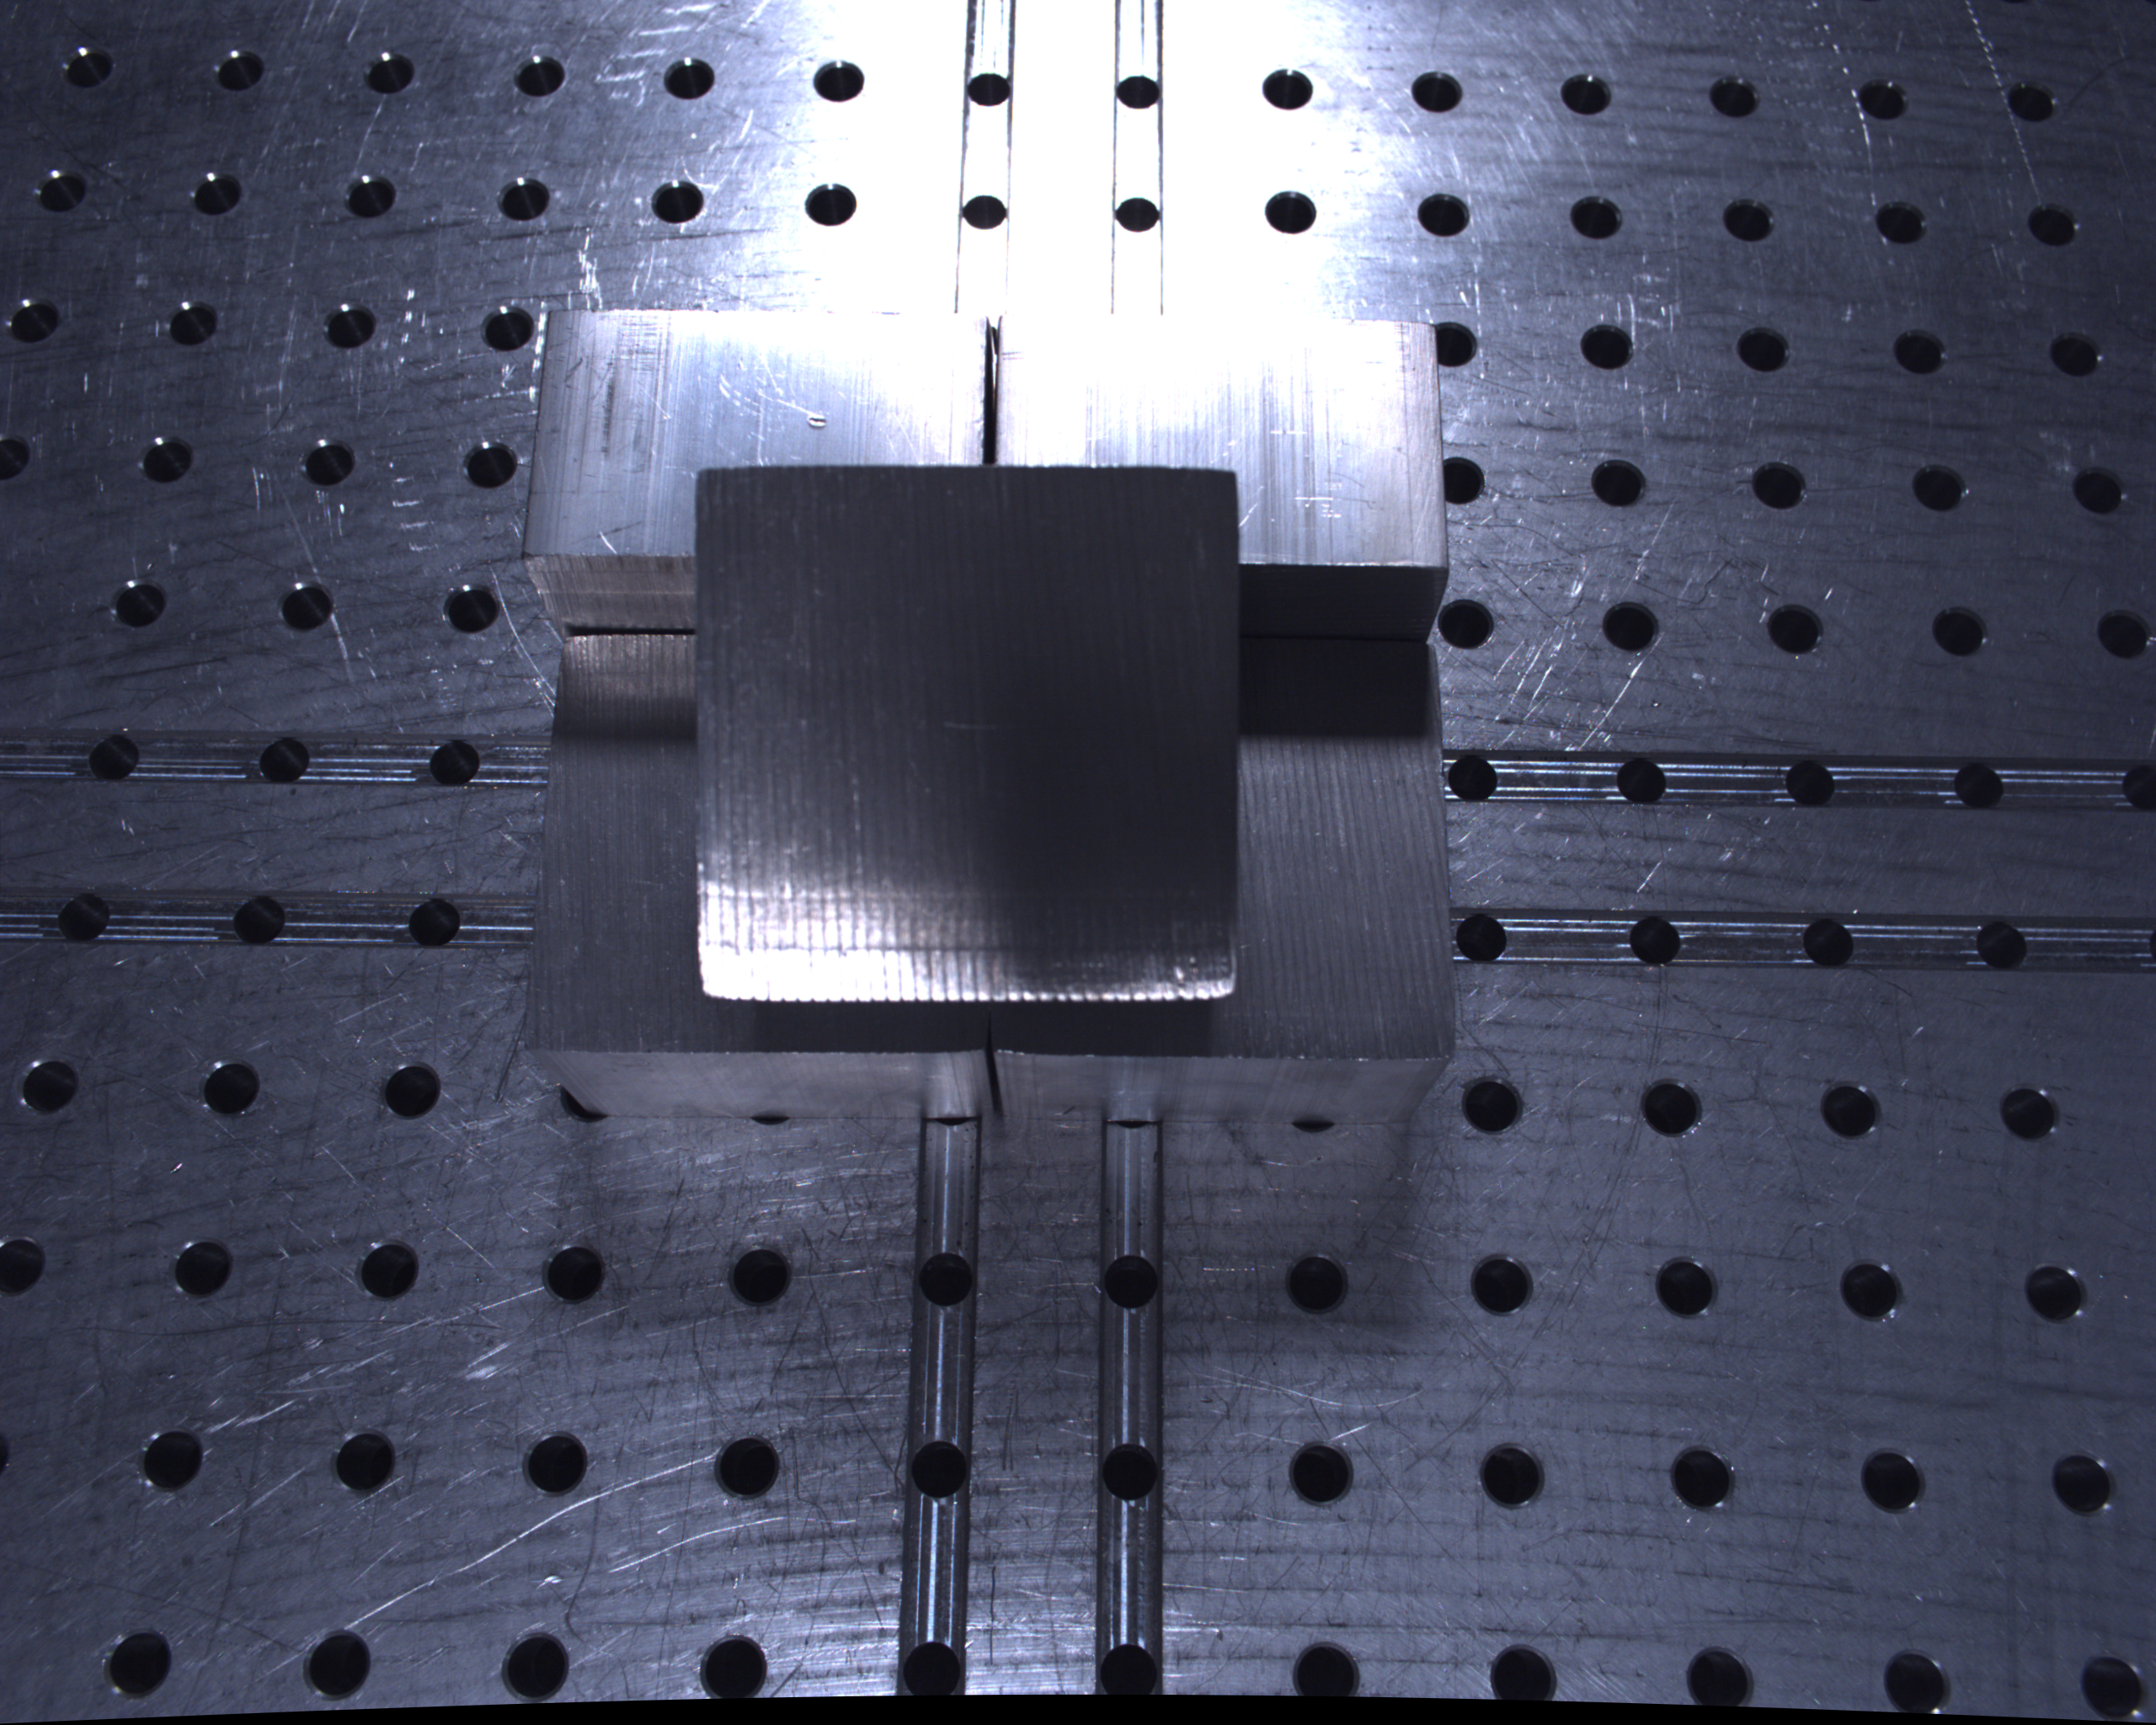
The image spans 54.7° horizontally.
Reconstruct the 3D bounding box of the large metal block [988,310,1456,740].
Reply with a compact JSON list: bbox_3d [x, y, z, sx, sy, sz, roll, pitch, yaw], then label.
[{"bbox_3d":[0.025,-0.062,0.404,0.081,0.080,0.050,1,70,0],"label":"large metal block"}]

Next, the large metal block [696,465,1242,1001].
[{"bbox_3d":[-0.016,-0.021,0.335,0.081,0.050,0.079,0,94,-1],"label":"large metal block"}]

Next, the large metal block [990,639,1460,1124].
[{"bbox_3d":[0.026,0.004,0.394,0.081,0.050,0.080,1,70,0],"label":"large metal block"}]

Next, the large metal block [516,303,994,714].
[{"bbox_3d":[-0.056,-0.063,0.404,0.081,0.080,0.050,1,70,0],"label":"large metal block"}]

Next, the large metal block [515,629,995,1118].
[{"bbox_3d":[-0.056,0.003,0.395,0.081,0.050,0.080,1,70,0],"label":"large metal block"}]
